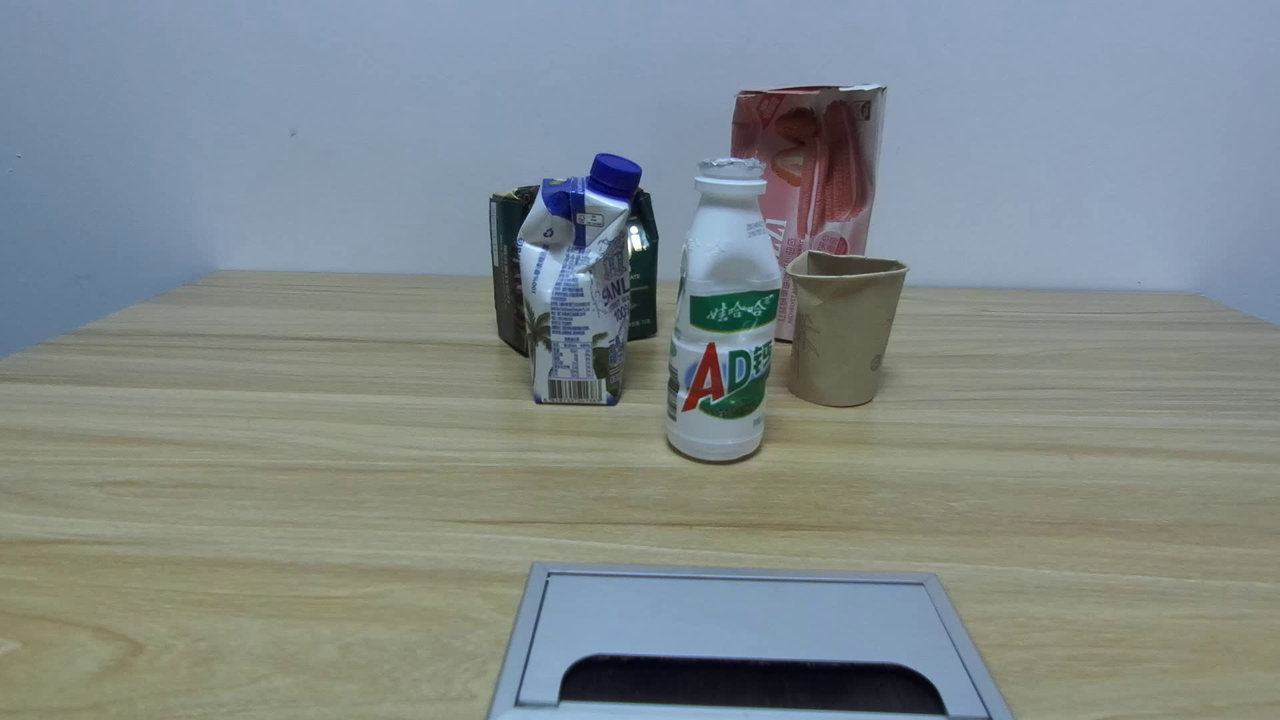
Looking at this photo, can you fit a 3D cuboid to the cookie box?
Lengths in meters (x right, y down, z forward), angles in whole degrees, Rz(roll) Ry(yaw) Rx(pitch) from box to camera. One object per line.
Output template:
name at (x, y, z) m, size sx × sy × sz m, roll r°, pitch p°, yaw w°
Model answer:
cookie box at (0.115, -0.104, 0.520) m, size 0.118 × 0.184 × 0.055 m, roll 10°, pitch 22°, yaw 26°

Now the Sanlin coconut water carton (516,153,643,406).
Sanlin coconut water carton at (-0.036, -0.047, 0.420) m, size 0.070 × 0.144 × 0.060 m, roll 3°, pitch 22°, yaw 2°

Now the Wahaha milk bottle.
Wahaha milk bottle at (0.041, -0.024, 0.354) m, size 0.055 × 0.149 × 0.055 m, roll 1°, pitch 20°, yaw 0°

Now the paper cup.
paper cup at (0.123, -0.018, 0.432) m, size 0.071 × 0.084 × 0.066 m, roll 7°, pitch 21°, yaw 17°
